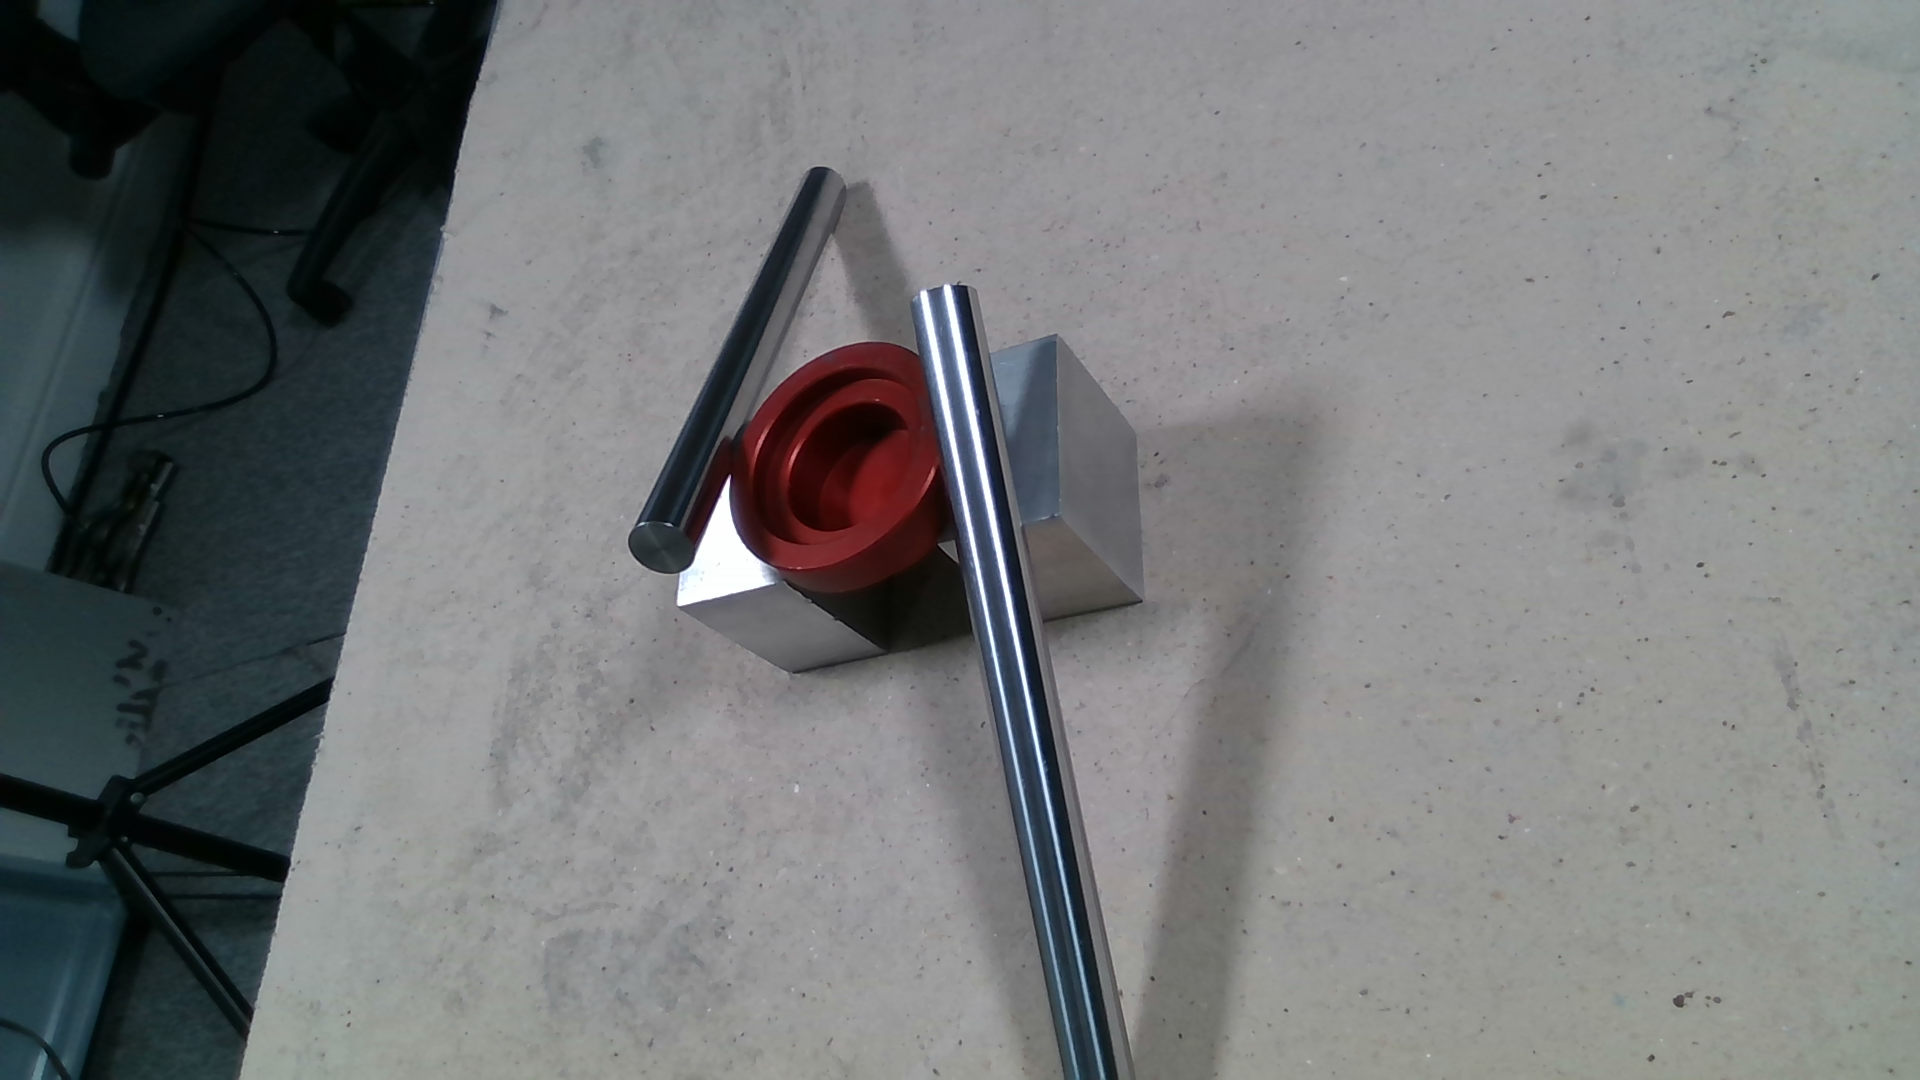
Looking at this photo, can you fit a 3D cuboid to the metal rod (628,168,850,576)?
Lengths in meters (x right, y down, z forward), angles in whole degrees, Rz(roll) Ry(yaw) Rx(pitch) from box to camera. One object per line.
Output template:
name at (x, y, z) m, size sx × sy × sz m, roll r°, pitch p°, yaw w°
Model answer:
metal rod at (-0.090, -0.091, 0.618) m, size 0.025 × 0.025 × 0.299 m, roll -18°, pitch 34°, yaw 23°

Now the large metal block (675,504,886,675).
large metal block at (-0.073, 0.003, 0.594) m, size 0.050 × 0.080 × 0.080 m, roll -13°, pitch 59°, yaw 25°

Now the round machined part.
round machined part at (-0.039, -0.024, 0.535) m, size 0.098 × 0.042 × 0.098 m, roll -14°, pitch 59°, yaw 25°

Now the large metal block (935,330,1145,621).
large metal block at (0.033, -0.022, 0.541) m, size 0.050 × 0.080 × 0.080 m, roll -13°, pitch 59°, yaw 25°

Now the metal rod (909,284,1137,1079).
metal rod at (0.022, 0.058, 0.471) m, size 0.025 × 0.025 × 0.300 m, roll -15°, pitch 81°, yaw 25°
